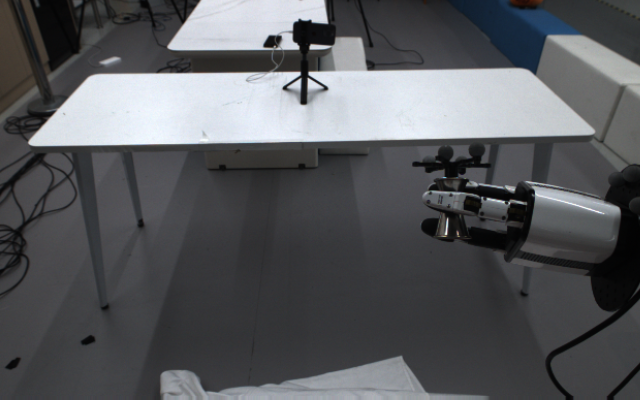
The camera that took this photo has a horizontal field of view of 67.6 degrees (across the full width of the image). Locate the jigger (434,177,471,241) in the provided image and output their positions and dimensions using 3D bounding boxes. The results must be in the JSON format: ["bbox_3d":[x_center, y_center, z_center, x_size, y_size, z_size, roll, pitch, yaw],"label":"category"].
[{"bbox_3d":[0.151,0.010,0.560,0.043,0.071,0.043,1,-6,0],"label":"jigger"}]
